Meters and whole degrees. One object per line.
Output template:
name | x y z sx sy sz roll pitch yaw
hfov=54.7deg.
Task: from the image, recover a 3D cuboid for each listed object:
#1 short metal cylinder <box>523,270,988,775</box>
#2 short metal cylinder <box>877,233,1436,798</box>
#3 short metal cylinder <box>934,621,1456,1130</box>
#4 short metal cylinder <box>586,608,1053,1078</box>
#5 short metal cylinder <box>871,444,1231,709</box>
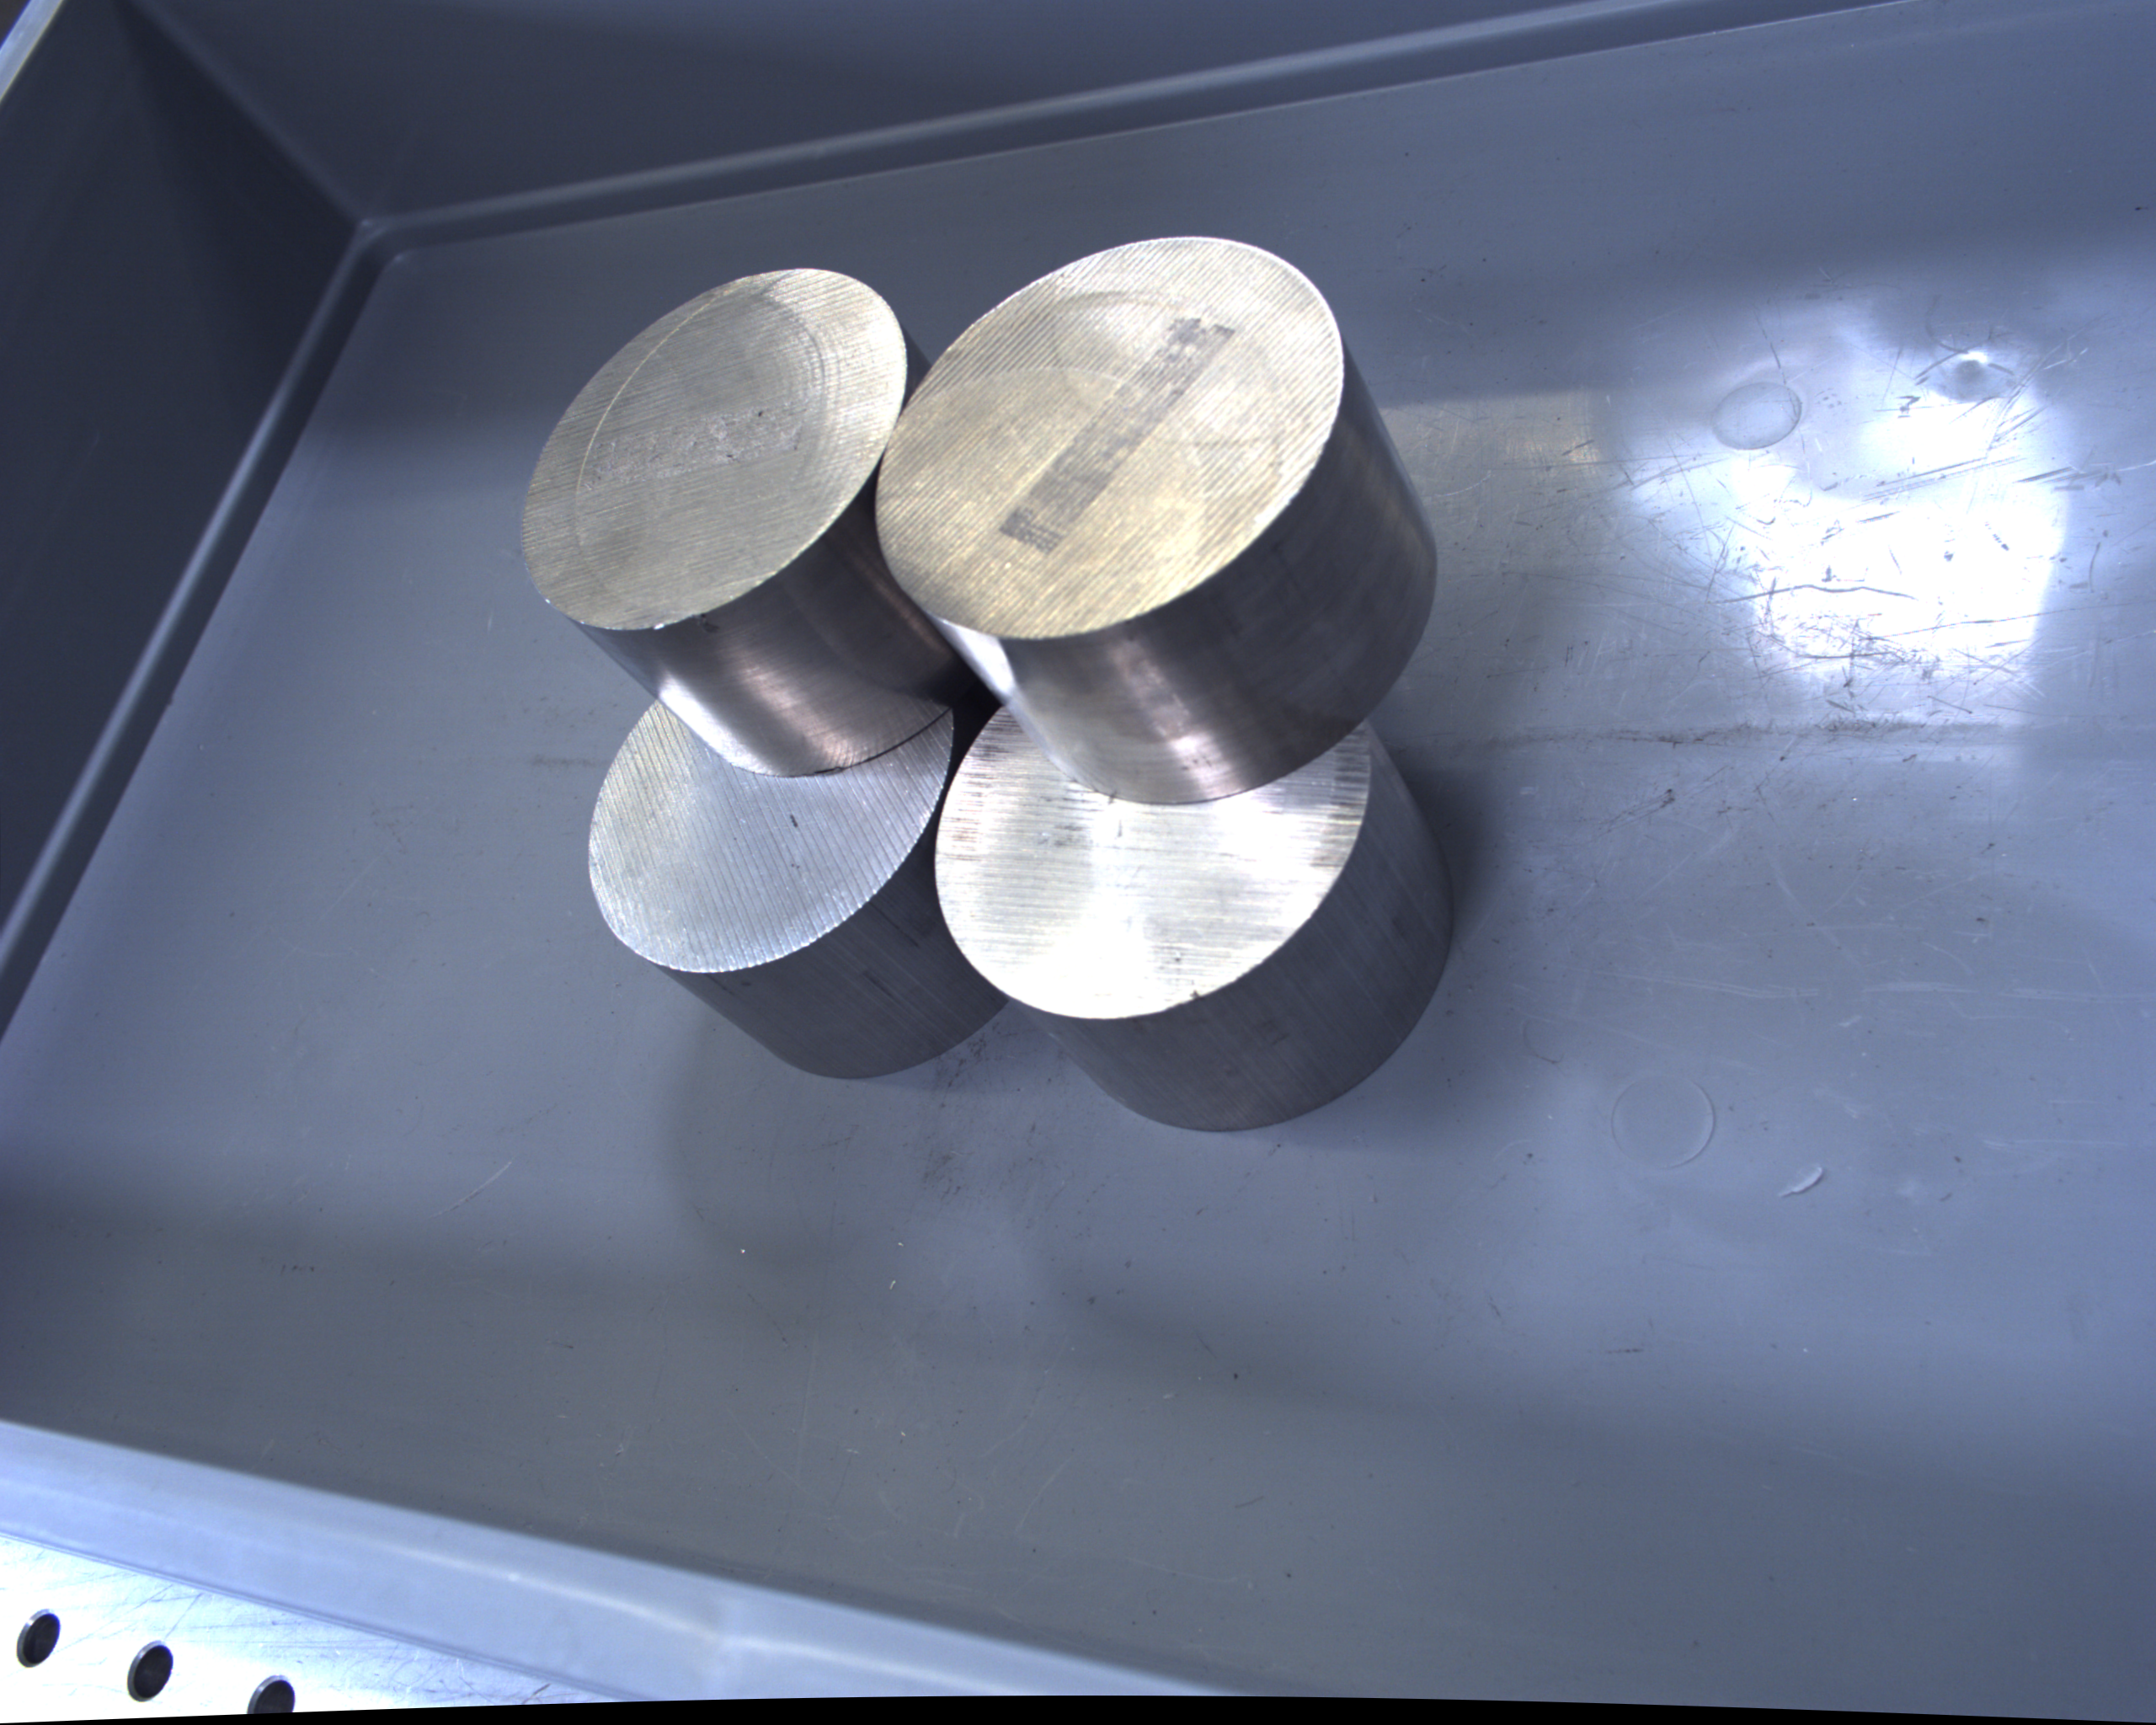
short metal cylinder | -0.055 -0.063 0.391 0.080 0.050 0.080 -13 56 21
short metal cylinder | 0.014 -0.058 0.350 0.080 0.050 0.080 -13 56 21
short metal cylinder | 0.022 0.002 0.375 0.080 0.050 0.080 -13 56 21
short metal cylinder | -0.049 -0.004 0.416 0.080 0.050 0.080 -13 56 21
short metal cylinder | 0.006 -0.062 0.423 0.080 0.050 0.080 -13 56 21
